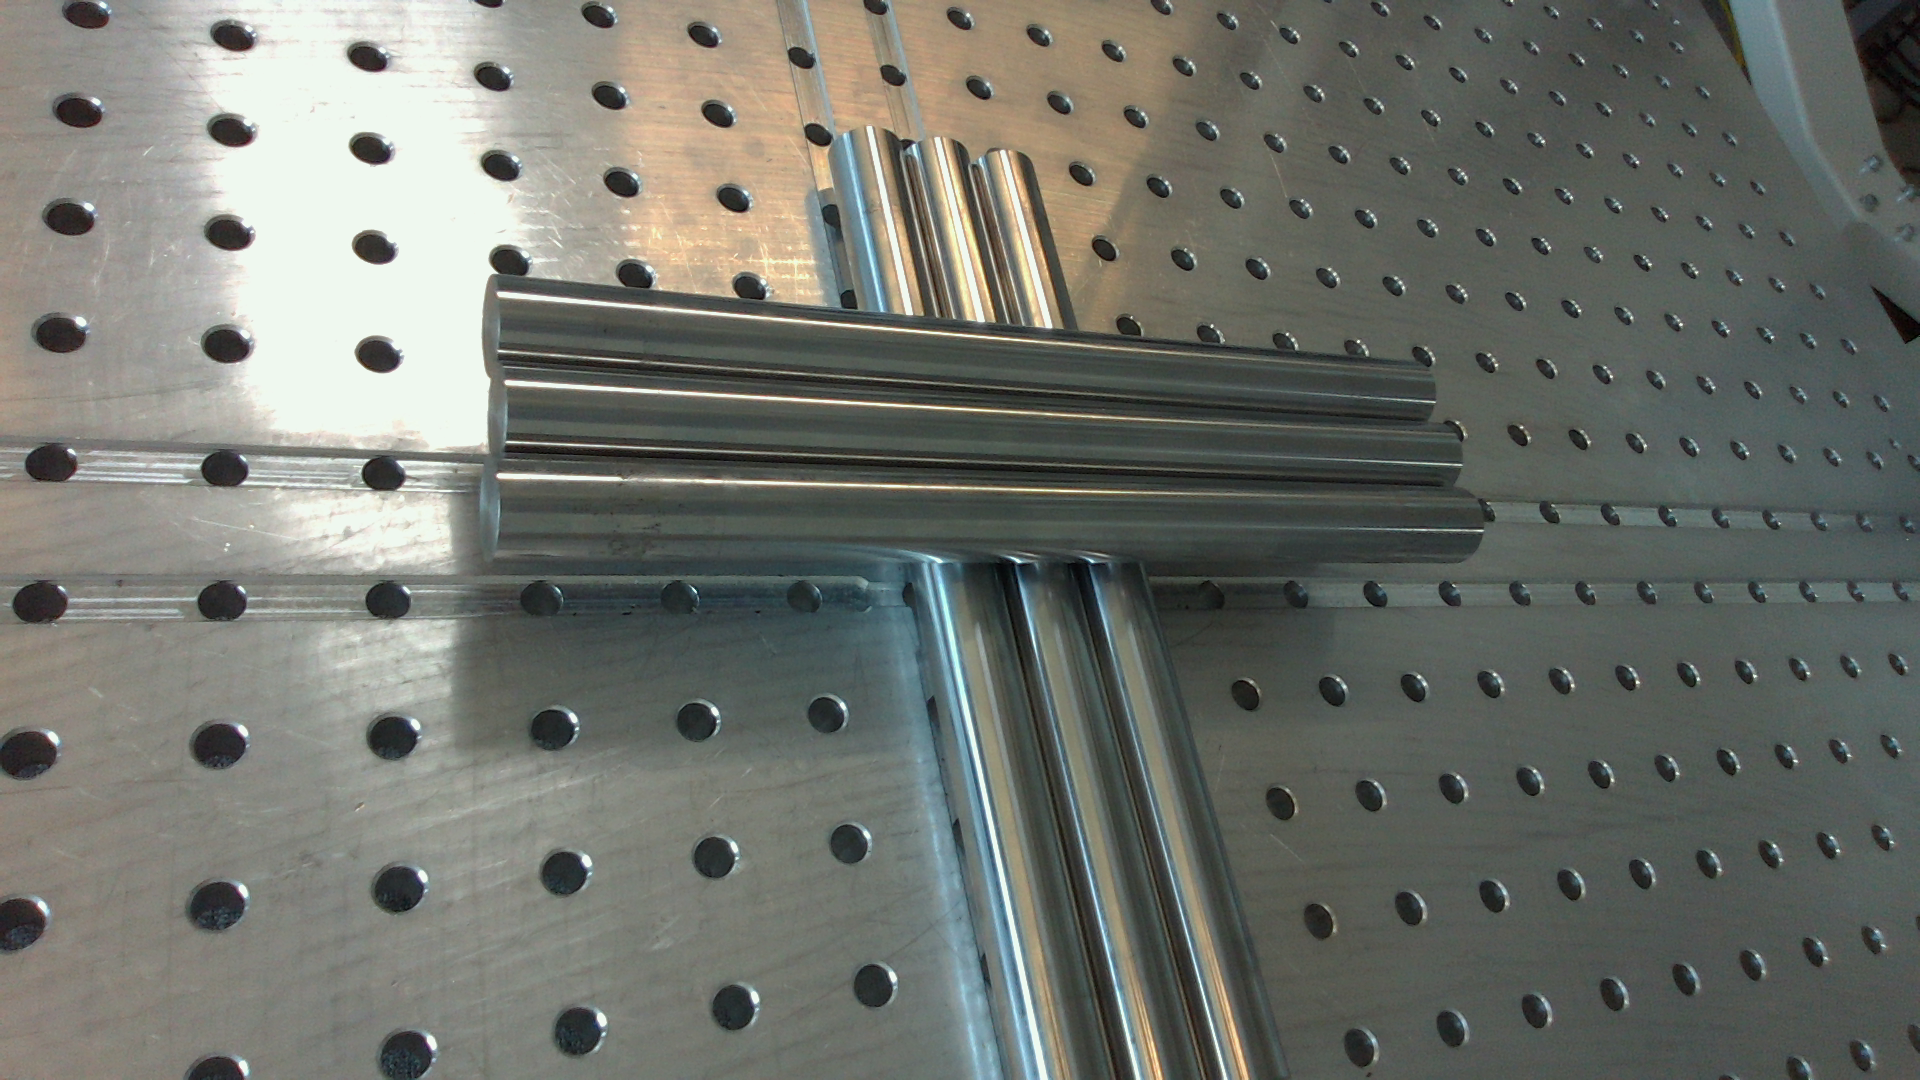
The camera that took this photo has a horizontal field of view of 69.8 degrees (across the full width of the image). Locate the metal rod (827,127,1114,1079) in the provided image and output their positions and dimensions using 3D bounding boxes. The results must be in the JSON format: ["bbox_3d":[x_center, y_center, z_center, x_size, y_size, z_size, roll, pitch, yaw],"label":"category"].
[{"bbox_3d":[-0.003,0.005,0.388,0.025,0.025,0.300,2,61,-27],"label":"metal rod"}]

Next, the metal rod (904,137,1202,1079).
[{"bbox_3d":[0.018,0.005,0.400,0.025,0.025,0.300,2,61,-27],"label":"metal rod"}]

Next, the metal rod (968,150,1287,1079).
[{"bbox_3d":[0.041,0.006,0.411,0.025,0.025,0.300,2,61,-27],"label":"metal rod"}]

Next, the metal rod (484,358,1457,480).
[{"bbox_3d":[0.024,-0.028,0.391,0.301,0.025,0.025,1,61,-28],"label":"metal rod"}]

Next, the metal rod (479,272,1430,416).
[{"bbox_3d":[0.019,-0.050,0.401,0.301,0.025,0.025,1,61,-28],"label":"metal rod"}]

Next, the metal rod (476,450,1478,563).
[{"bbox_3d":[0.026,-0.006,0.378,0.301,0.025,0.025,1,61,-28],"label":"metal rod"}]
